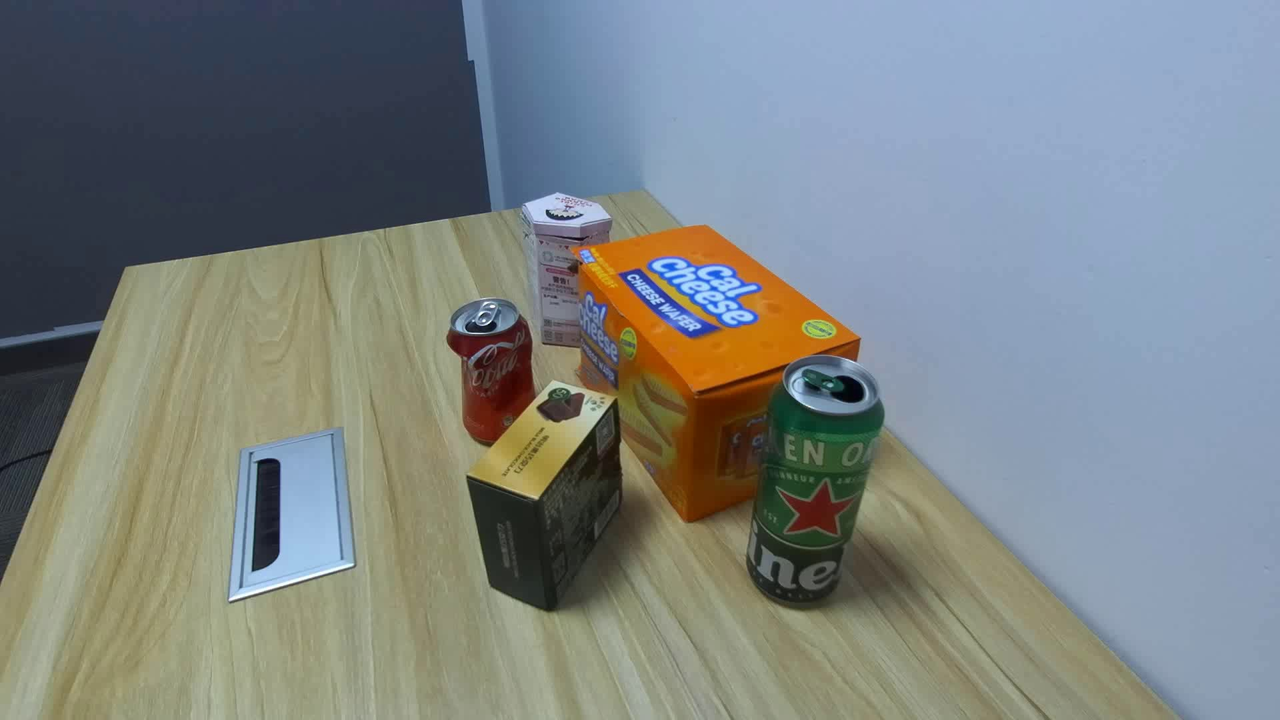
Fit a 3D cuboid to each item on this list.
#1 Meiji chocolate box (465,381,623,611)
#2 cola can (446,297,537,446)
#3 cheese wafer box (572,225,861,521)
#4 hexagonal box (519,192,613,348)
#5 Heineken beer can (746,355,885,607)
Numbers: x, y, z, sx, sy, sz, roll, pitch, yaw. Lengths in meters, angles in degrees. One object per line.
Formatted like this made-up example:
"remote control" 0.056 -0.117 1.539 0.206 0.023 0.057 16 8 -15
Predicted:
"Meiji chocolate box" -0.059 0.091 0.487 0.056 0.109 0.110 15 38 21
"cola can" -0.122 0.009 0.591 0.066 0.117 0.066 -22 40 -29
"cheese wafer box" 0.050 -0.005 0.596 0.150 0.137 0.226 -17 40 -21
"hexagonal box" -0.069 -0.089 0.707 0.092 0.135 0.085 9 36 14
"Heineken beer can" 0.107 0.080 0.448 0.067 0.169 0.067 0 36 0
